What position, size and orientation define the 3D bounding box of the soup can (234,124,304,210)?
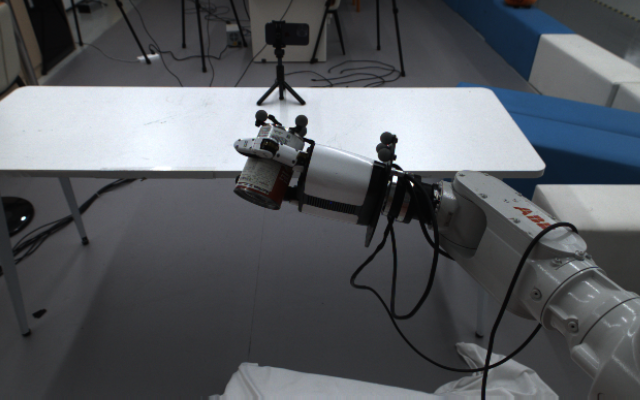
[{"bbox_3d":[-0.068,-0.045,0.669,0.067,0.067,0.101,16,75,19],"label":"soup can"}]
